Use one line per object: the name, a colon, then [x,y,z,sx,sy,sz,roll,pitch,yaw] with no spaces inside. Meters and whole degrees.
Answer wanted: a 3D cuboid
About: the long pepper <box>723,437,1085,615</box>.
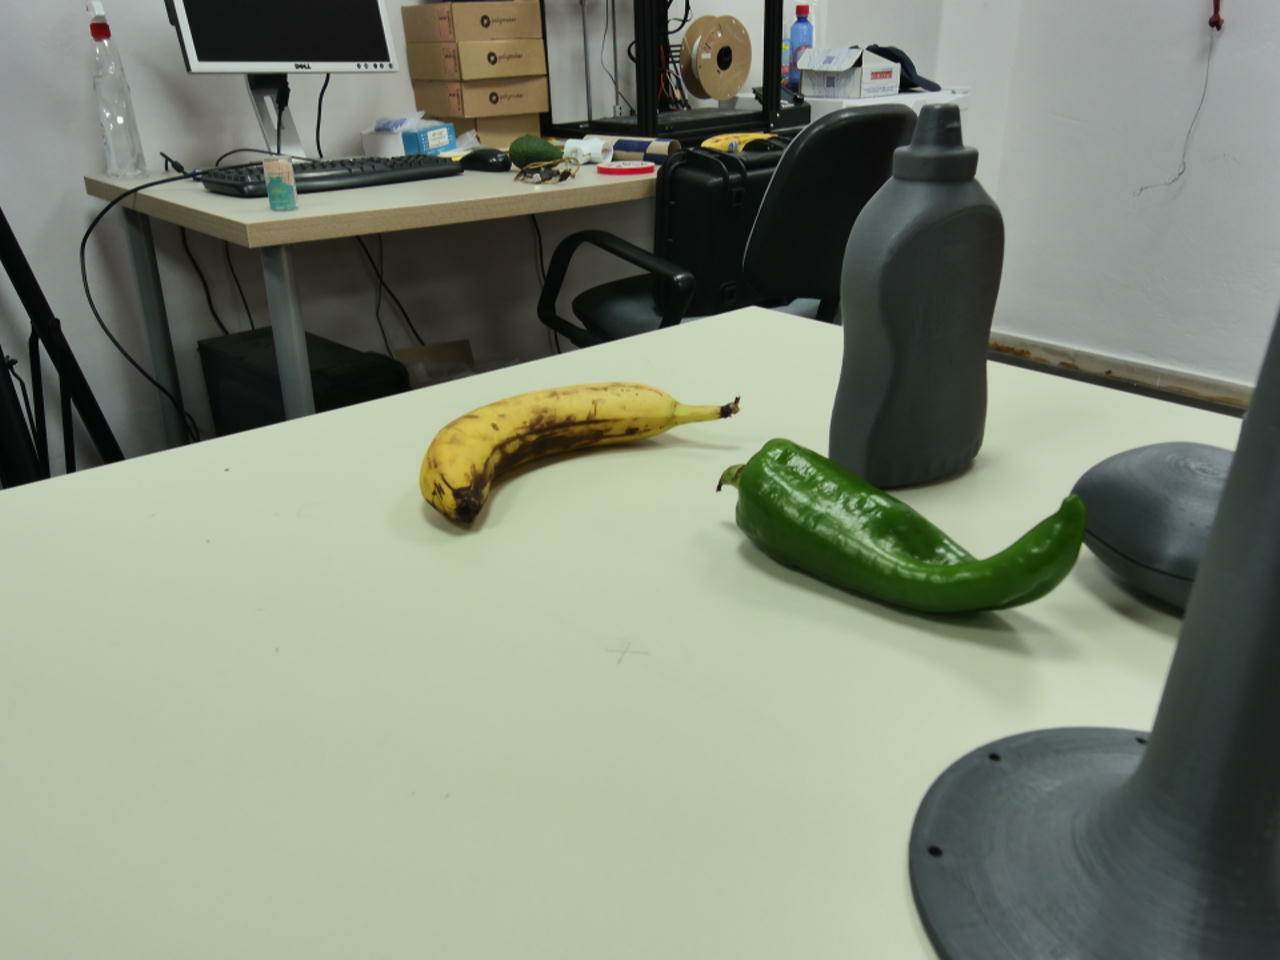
long pepper: [0.102,0.015,0.440,0.058,0.065,0.175,-17,28,-37]
